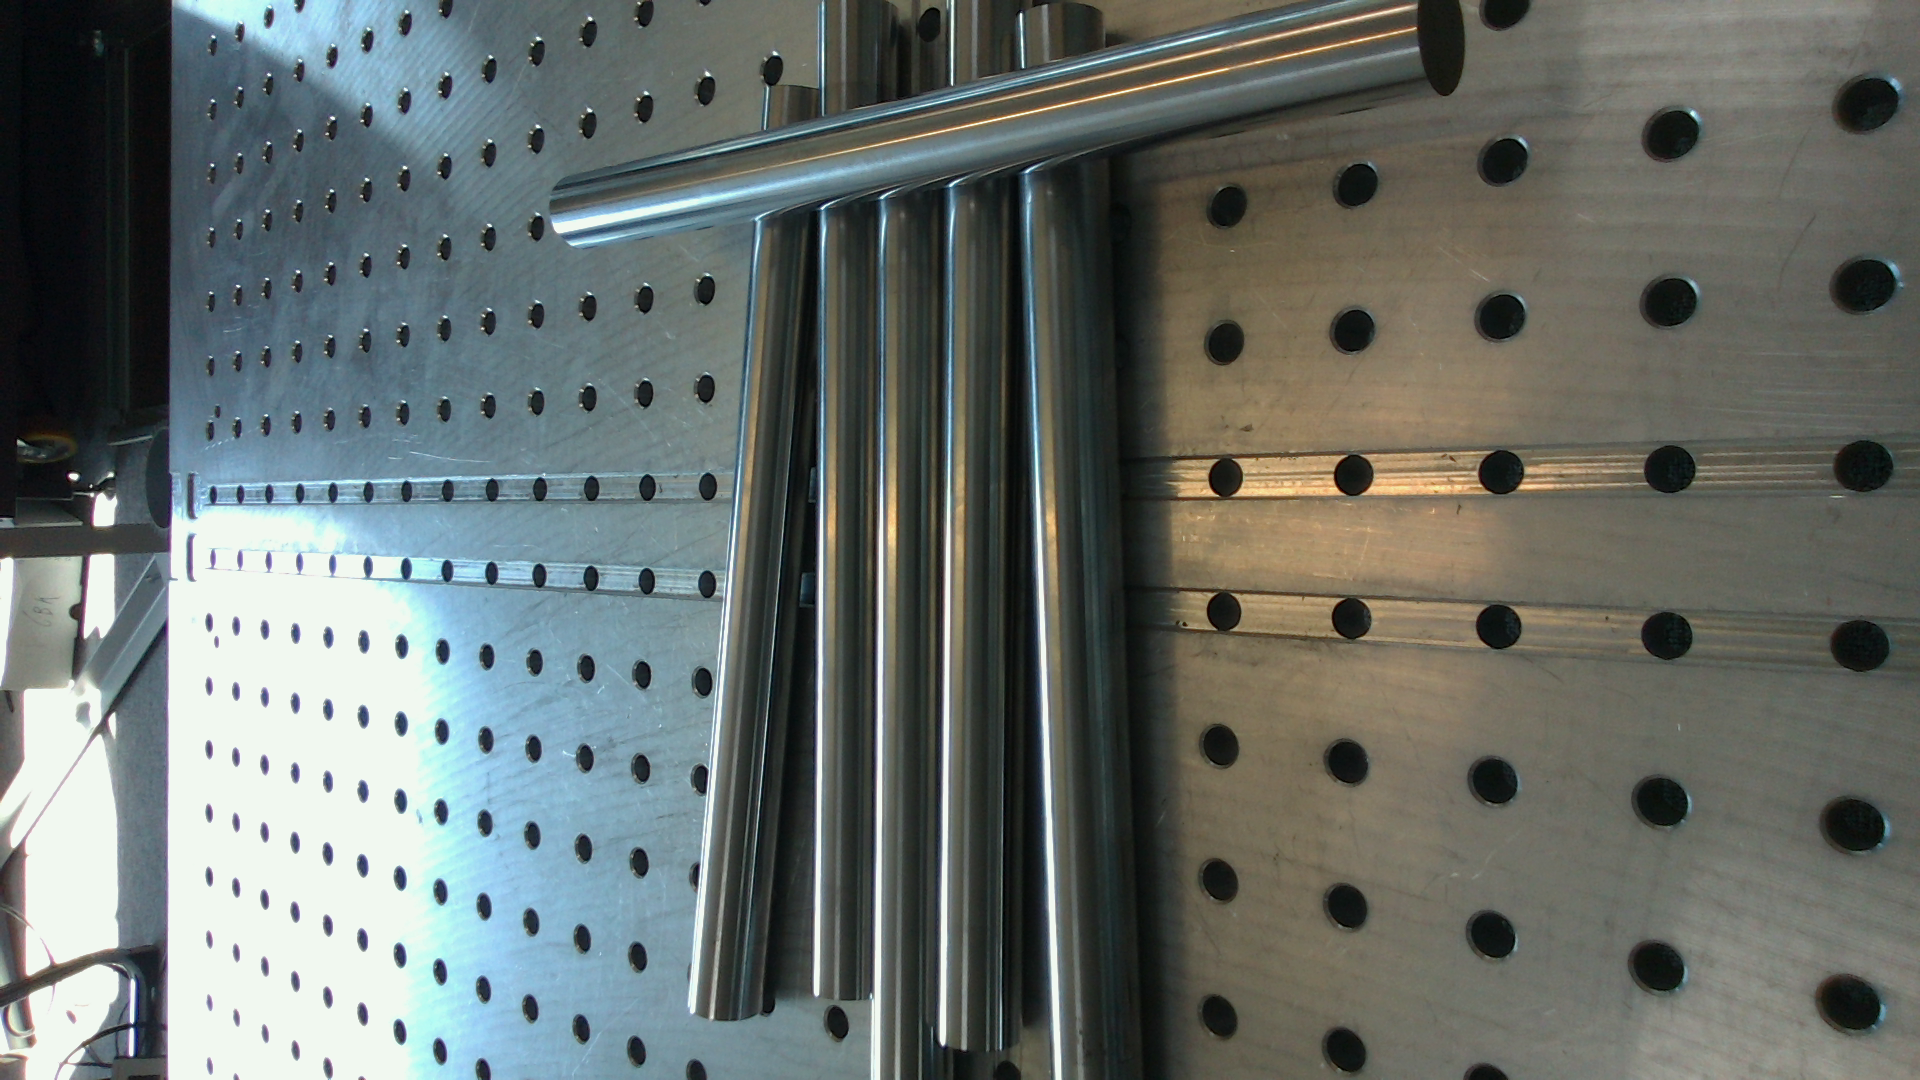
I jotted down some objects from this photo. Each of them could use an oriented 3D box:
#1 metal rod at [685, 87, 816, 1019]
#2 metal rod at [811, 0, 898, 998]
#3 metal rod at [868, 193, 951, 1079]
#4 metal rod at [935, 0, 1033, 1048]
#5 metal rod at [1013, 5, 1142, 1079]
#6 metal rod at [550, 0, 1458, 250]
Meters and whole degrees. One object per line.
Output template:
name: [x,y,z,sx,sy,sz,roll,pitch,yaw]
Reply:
metal rod: [-0.066,0.007,0.452,0.025,0.025,0.300,9,96,40]
metal rod: [-0.033,-0.012,0.426,0.025,0.025,0.300,1,91,40]
metal rod: [-0.014,0.044,0.410,0.025,0.025,0.300,1,91,40]
metal rod: [0.007,-0.009,0.394,0.025,0.025,0.300,1,91,40]
metal rod: [0.032,0.009,0.372,0.025,0.025,0.300,-3,88,40]
metal rod: [-0.016,-0.108,0.379,0.299,0.025,0.025,2,92,40]
